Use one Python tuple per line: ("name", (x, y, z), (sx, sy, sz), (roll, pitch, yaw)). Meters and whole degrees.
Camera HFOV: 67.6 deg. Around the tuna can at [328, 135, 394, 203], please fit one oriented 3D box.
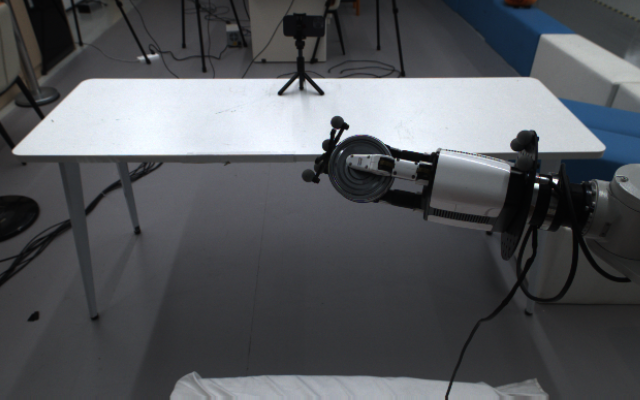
("tuna can", (0.055, -0.042, 0.626), (0.085, 0.085, 0.034), (9, -5, 10))
